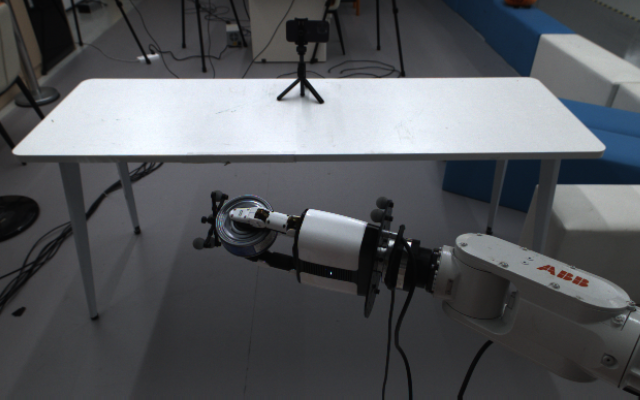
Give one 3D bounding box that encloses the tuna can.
[{"bbox_3d":[-0.101,0.035,0.686,0.085,0.034,0.085,-2,58,3],"label":"tuna can"}]
